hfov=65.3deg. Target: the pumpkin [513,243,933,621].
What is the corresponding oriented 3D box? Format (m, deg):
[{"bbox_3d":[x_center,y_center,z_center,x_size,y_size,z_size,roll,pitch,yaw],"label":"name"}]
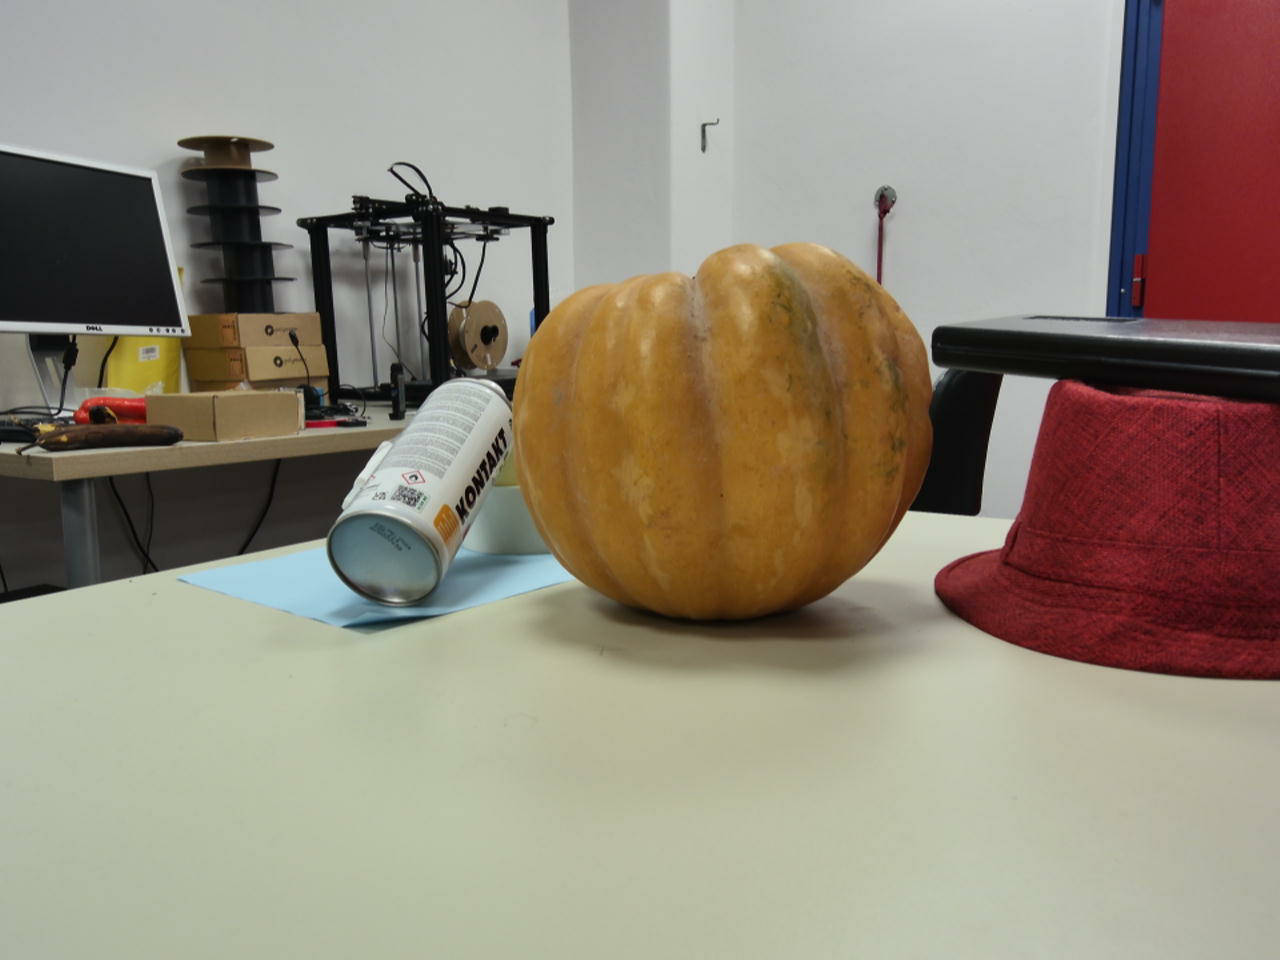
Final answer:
[{"bbox_3d":[0.043,-0.025,0.545,0.230,0.194,0.230,1,6,0],"label":"pumpkin"}]
